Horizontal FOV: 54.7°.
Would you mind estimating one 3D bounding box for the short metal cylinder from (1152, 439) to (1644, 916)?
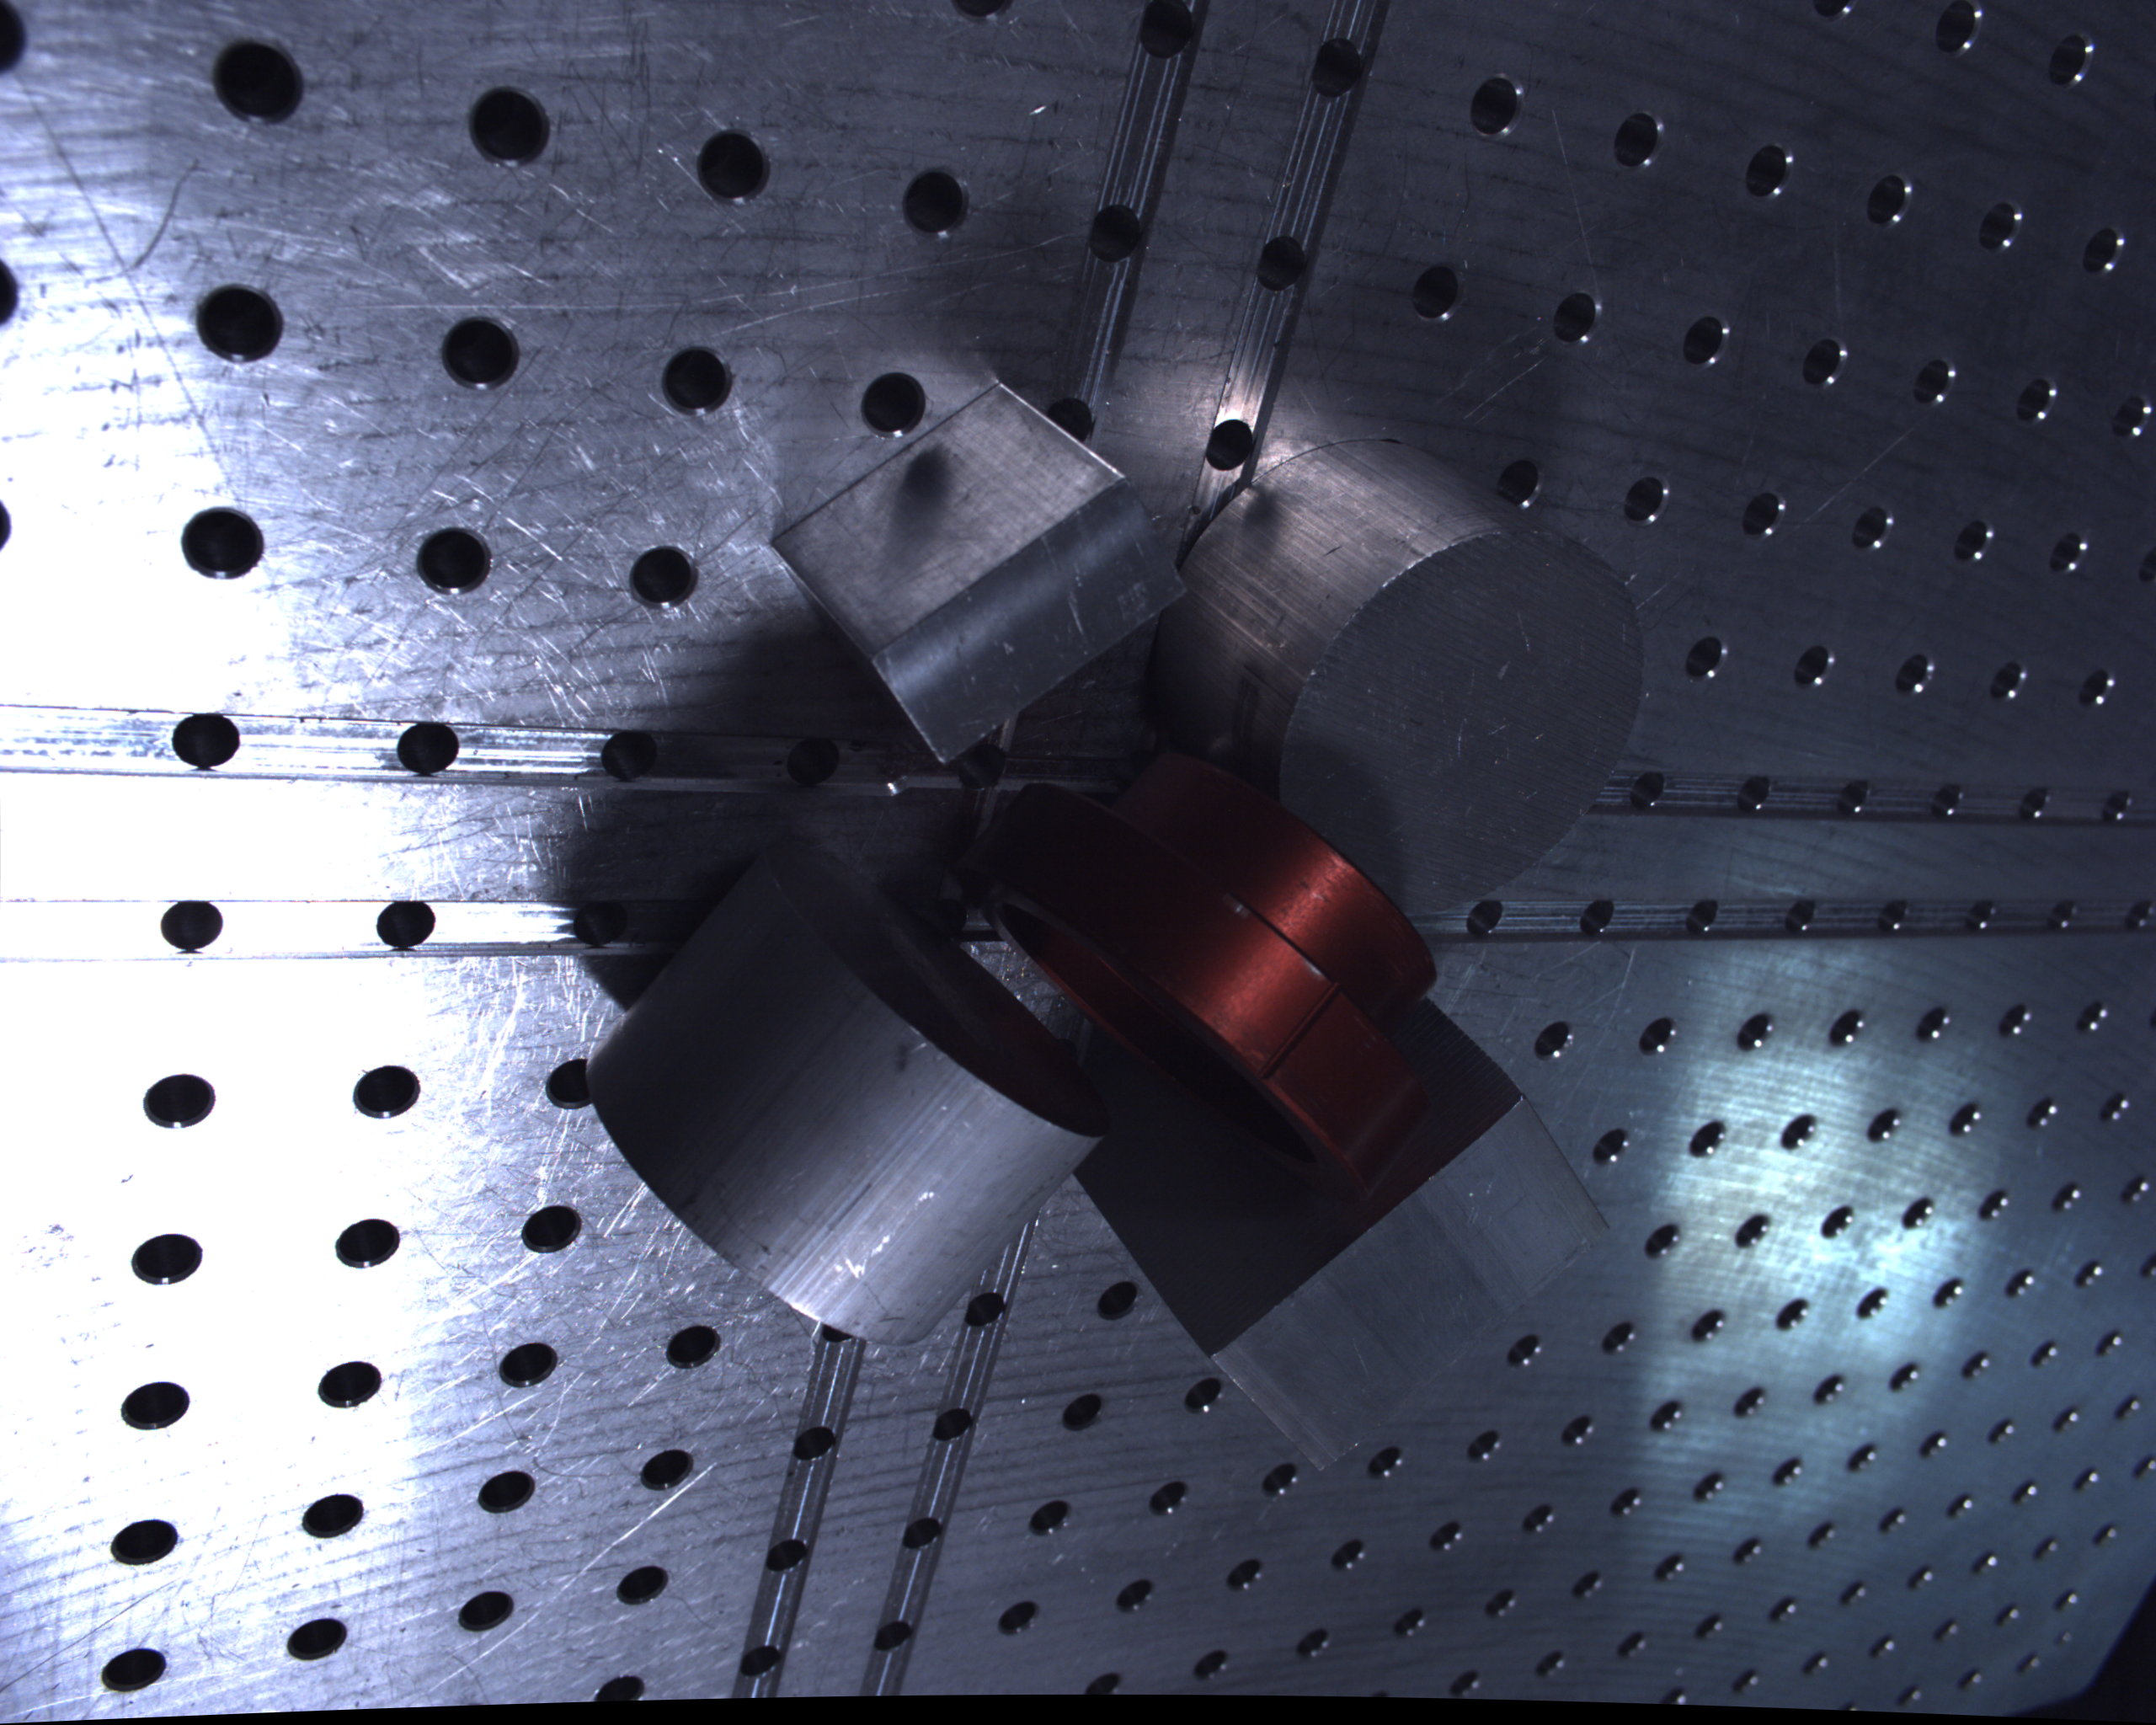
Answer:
[{"bbox_3d":[0.062,-0.036,0.408,0.081,0.050,0.079,-14,125,-21],"label":"short metal cylinder"}]

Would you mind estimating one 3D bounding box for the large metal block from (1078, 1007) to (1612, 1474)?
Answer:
[{"bbox_3d":[0.051,0.067,0.448,0.080,0.080,0.050,-40,130,-2],"label":"large metal block"}]

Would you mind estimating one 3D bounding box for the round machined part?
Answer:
[{"bbox_3d":[0.027,0.017,0.392,0.042,0.098,0.098,-50,130,-9],"label":"round machined part"}]

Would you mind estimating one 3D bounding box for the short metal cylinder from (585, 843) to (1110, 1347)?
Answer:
[{"bbox_3d":[-0.041,0.041,0.379,0.050,0.080,0.080,-50,129,6],"label":"short metal cylinder"}]

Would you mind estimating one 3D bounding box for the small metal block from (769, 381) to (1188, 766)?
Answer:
[{"bbox_3d":[-0.018,-0.050,0.355,0.050,0.050,0.025,-36,130,-5],"label":"small metal block"}]
